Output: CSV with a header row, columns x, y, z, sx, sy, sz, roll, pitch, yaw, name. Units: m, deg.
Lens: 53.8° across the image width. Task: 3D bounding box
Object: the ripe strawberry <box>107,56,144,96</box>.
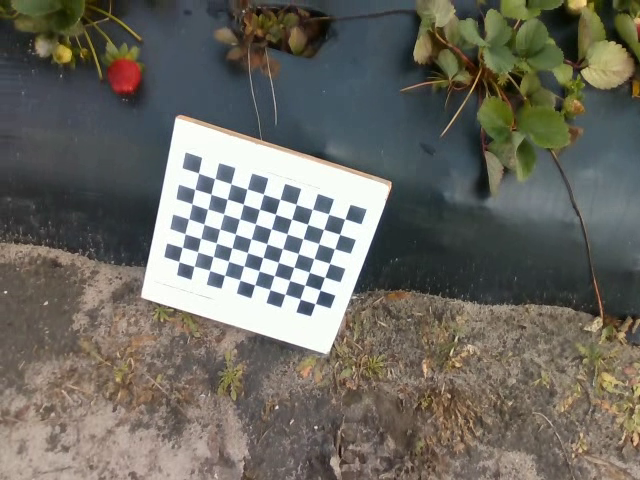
x,y,z,sx,sy,sz,roll,pitch,yaw,name
-0.242,-0.198,0.769,0.046,0.055,0.042,-28,-46,19,ripe strawberry
